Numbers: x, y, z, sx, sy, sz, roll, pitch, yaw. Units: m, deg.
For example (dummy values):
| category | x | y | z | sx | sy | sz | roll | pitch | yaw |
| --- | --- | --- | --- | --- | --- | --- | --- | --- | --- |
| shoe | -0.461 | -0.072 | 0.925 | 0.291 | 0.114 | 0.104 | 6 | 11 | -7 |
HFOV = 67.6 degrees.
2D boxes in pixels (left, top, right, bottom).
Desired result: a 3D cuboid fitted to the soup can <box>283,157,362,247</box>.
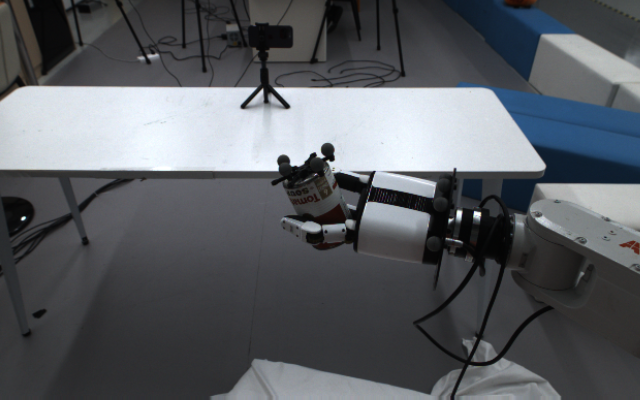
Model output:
| category | x | y | z | sx | sy | sz | roll | pitch | yaw |
| --- | --- | --- | --- | --- | --- | --- | --- | --- | --- |
| soup can | 0.002 | 0.005 | 0.646 | 0.067 | 0.101 | 0.067 | -21 | 24 | 10 |
